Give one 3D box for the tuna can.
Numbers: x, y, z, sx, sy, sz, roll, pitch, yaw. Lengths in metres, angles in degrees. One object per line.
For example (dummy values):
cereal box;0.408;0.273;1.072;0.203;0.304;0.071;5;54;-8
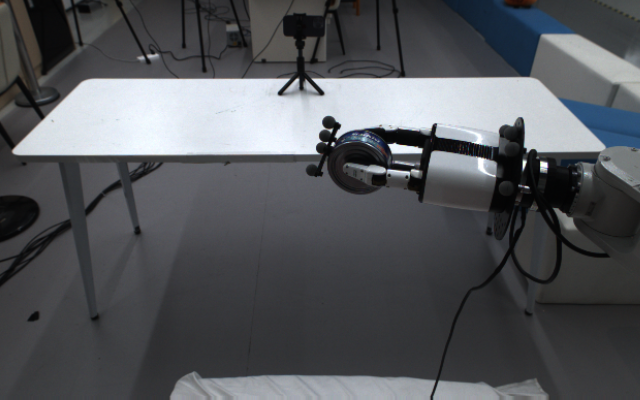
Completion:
tuna can;0.056;-0.052;0.662;0.085;0.085;0.034;9;35;10
